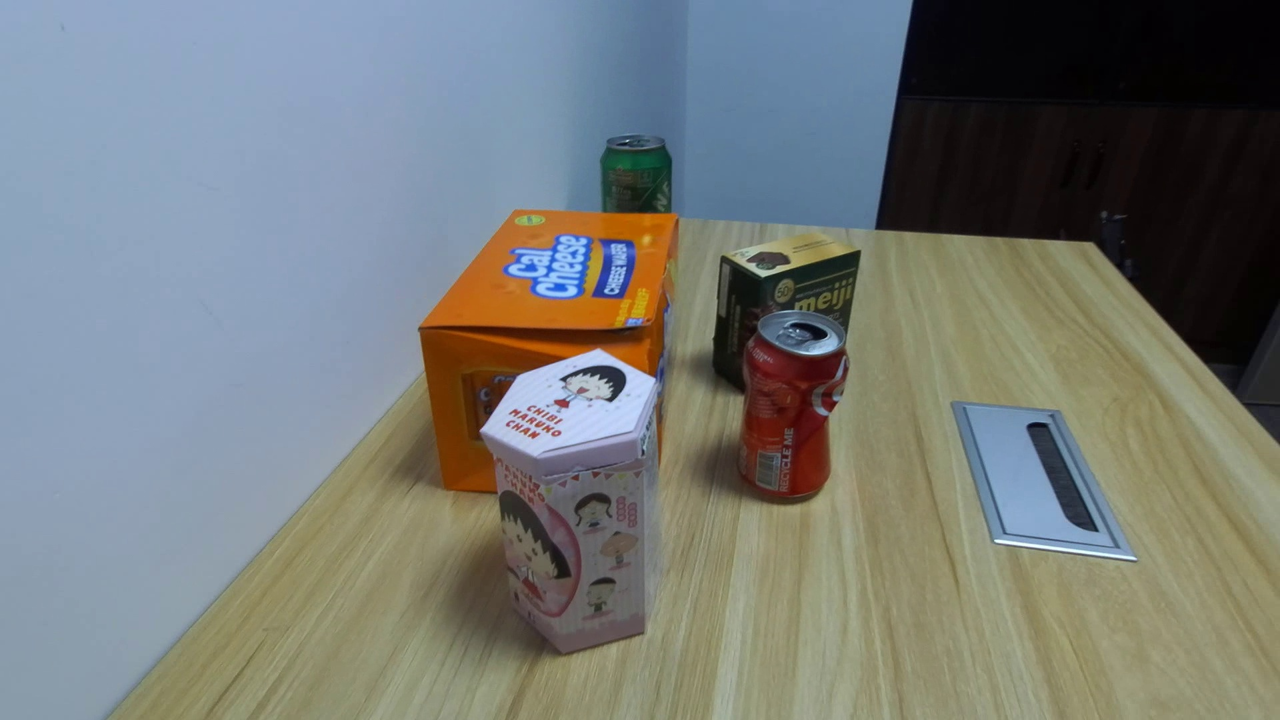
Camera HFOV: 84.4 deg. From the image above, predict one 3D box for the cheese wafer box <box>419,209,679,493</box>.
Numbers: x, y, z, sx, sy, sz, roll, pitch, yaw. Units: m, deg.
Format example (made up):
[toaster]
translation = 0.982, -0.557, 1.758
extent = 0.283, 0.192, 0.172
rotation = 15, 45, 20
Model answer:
[cheese wafer box]
translation = -0.049, -0.018, 0.535
extent = 0.149, 0.137, 0.227
rotation = 4, 31, 6

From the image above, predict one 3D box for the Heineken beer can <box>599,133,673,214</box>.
[Heineken beer can]
translation = -0.001, -0.121, 0.674
extent = 0.067, 0.169, 0.067
rotation = 0, 27, 0

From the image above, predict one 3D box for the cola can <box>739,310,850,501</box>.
[cola can]
translation = 0.099, 0.029, 0.465
extent = 0.066, 0.117, 0.066
rotation = -2, 30, -3

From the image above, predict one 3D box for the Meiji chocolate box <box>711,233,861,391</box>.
[Meiji chocolate box]
translation = 0.121, -0.039, 0.590
extent = 0.110, 0.109, 0.056
rotation = -17, 34, -28

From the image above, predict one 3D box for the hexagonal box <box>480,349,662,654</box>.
[hexagonal box]
translation = -0.029, 0.074, 0.374
extent = 0.085, 0.135, 0.091
rotation = -27, 40, -36
